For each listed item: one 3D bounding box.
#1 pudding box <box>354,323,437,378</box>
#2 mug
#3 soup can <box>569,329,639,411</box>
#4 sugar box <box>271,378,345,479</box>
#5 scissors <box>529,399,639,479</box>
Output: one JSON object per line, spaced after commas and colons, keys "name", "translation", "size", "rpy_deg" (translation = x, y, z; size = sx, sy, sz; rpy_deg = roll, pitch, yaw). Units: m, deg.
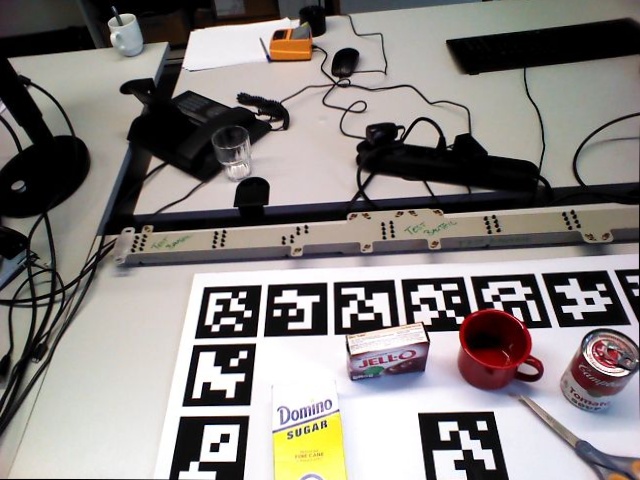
{"name": "pudding box", "translation": [0.105, 0.149, 0.716], "size": [0.114, 0.090, 0.038], "rpy_deg": [-10, 56, 0]}
{"name": "mug", "translation": [0.254, 0.146, 0.706], "size": [0.093, 0.082, 0.117], "rpy_deg": [-33, 52, -15]}
{"name": "soup can", "translation": [0.368, 0.169, 0.667], "size": [0.068, 0.102, 0.067], "rpy_deg": [-5, 49, 5]}
{"name": "sugar box", "translation": [-0.015, 0.272, 0.671], "size": [0.093, 0.045, 0.175], "rpy_deg": [-6, 52, 5]}
{"name": "scissors", "translation": [0.347, 0.265, 0.635], "size": [0.087, 0.016, 0.203], "rpy_deg": [-42, 57, -12]}
